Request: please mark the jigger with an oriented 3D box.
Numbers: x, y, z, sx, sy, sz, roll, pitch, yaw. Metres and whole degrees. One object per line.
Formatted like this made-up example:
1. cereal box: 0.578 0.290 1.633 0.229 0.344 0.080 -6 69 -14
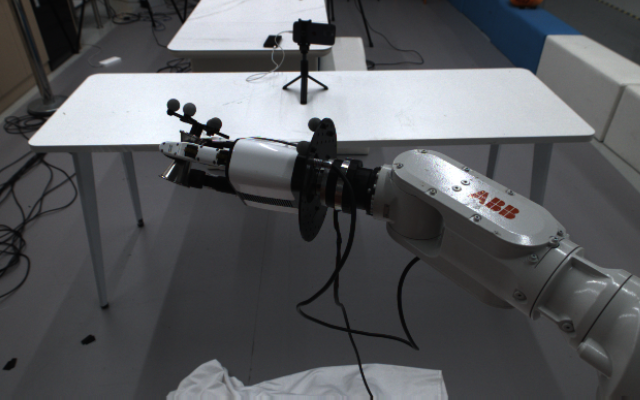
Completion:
1. jigger: -0.186 -0.056 0.655 0.043 0.071 0.043 23 -2 1
